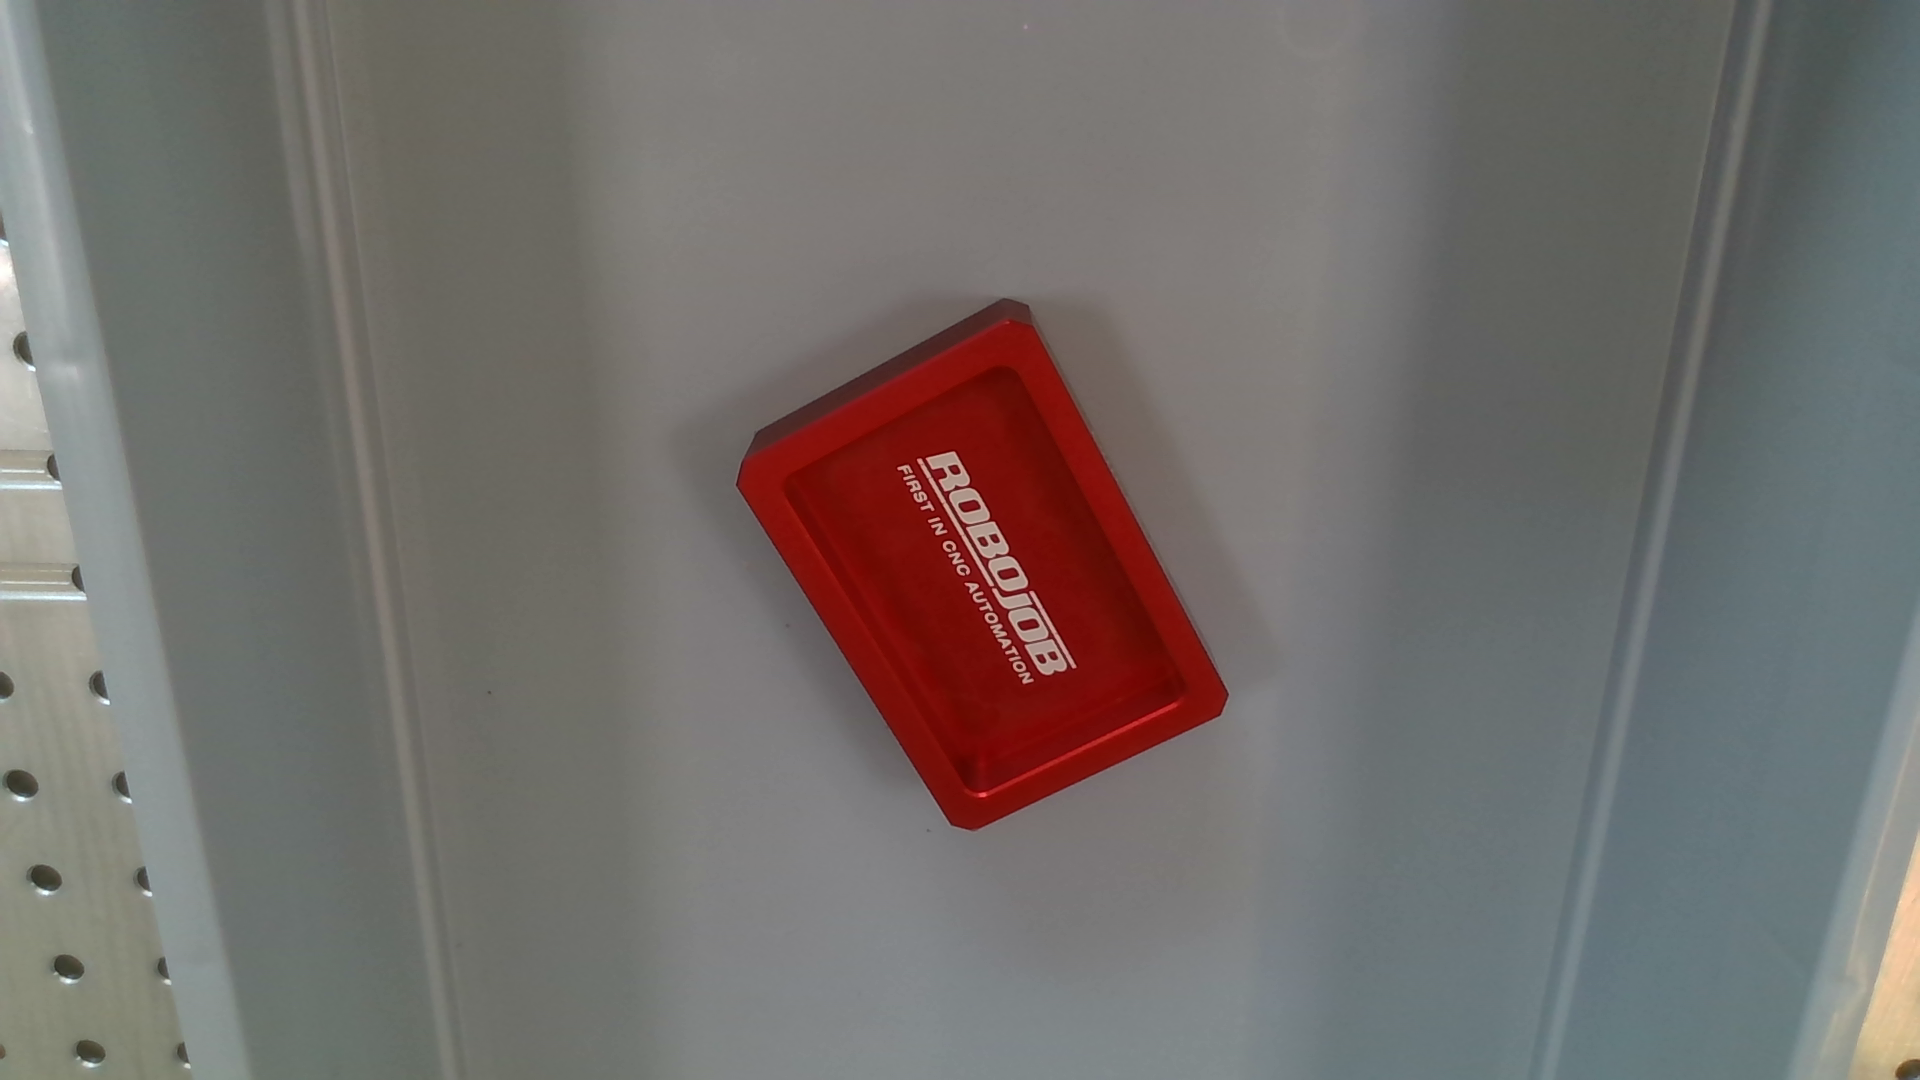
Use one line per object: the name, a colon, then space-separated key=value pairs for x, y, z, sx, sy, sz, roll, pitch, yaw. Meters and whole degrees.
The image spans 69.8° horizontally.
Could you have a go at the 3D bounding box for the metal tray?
metal tray: x=0.008 y=0.010 z=0.391 sx=0.090 sy=0.030 sz=0.130 roll=-27 pitch=108 yaw=10
